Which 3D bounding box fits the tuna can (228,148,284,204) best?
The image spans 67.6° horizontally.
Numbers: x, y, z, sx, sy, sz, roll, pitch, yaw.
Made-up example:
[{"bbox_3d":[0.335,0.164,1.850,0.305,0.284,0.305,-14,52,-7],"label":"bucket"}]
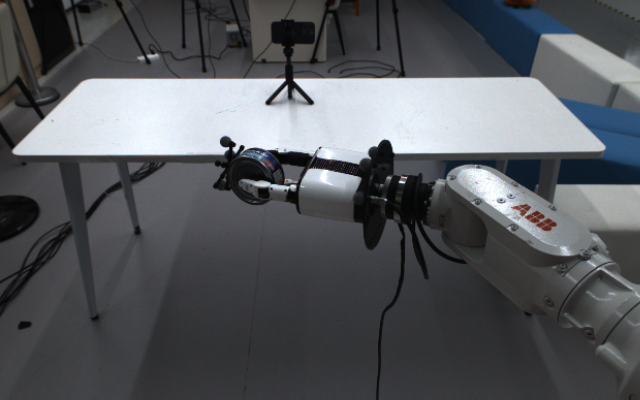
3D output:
[{"bbox_3d":[-0.099,-0.038,0.752,0.085,0.085,0.034,13,31,16],"label":"tuna can"}]
